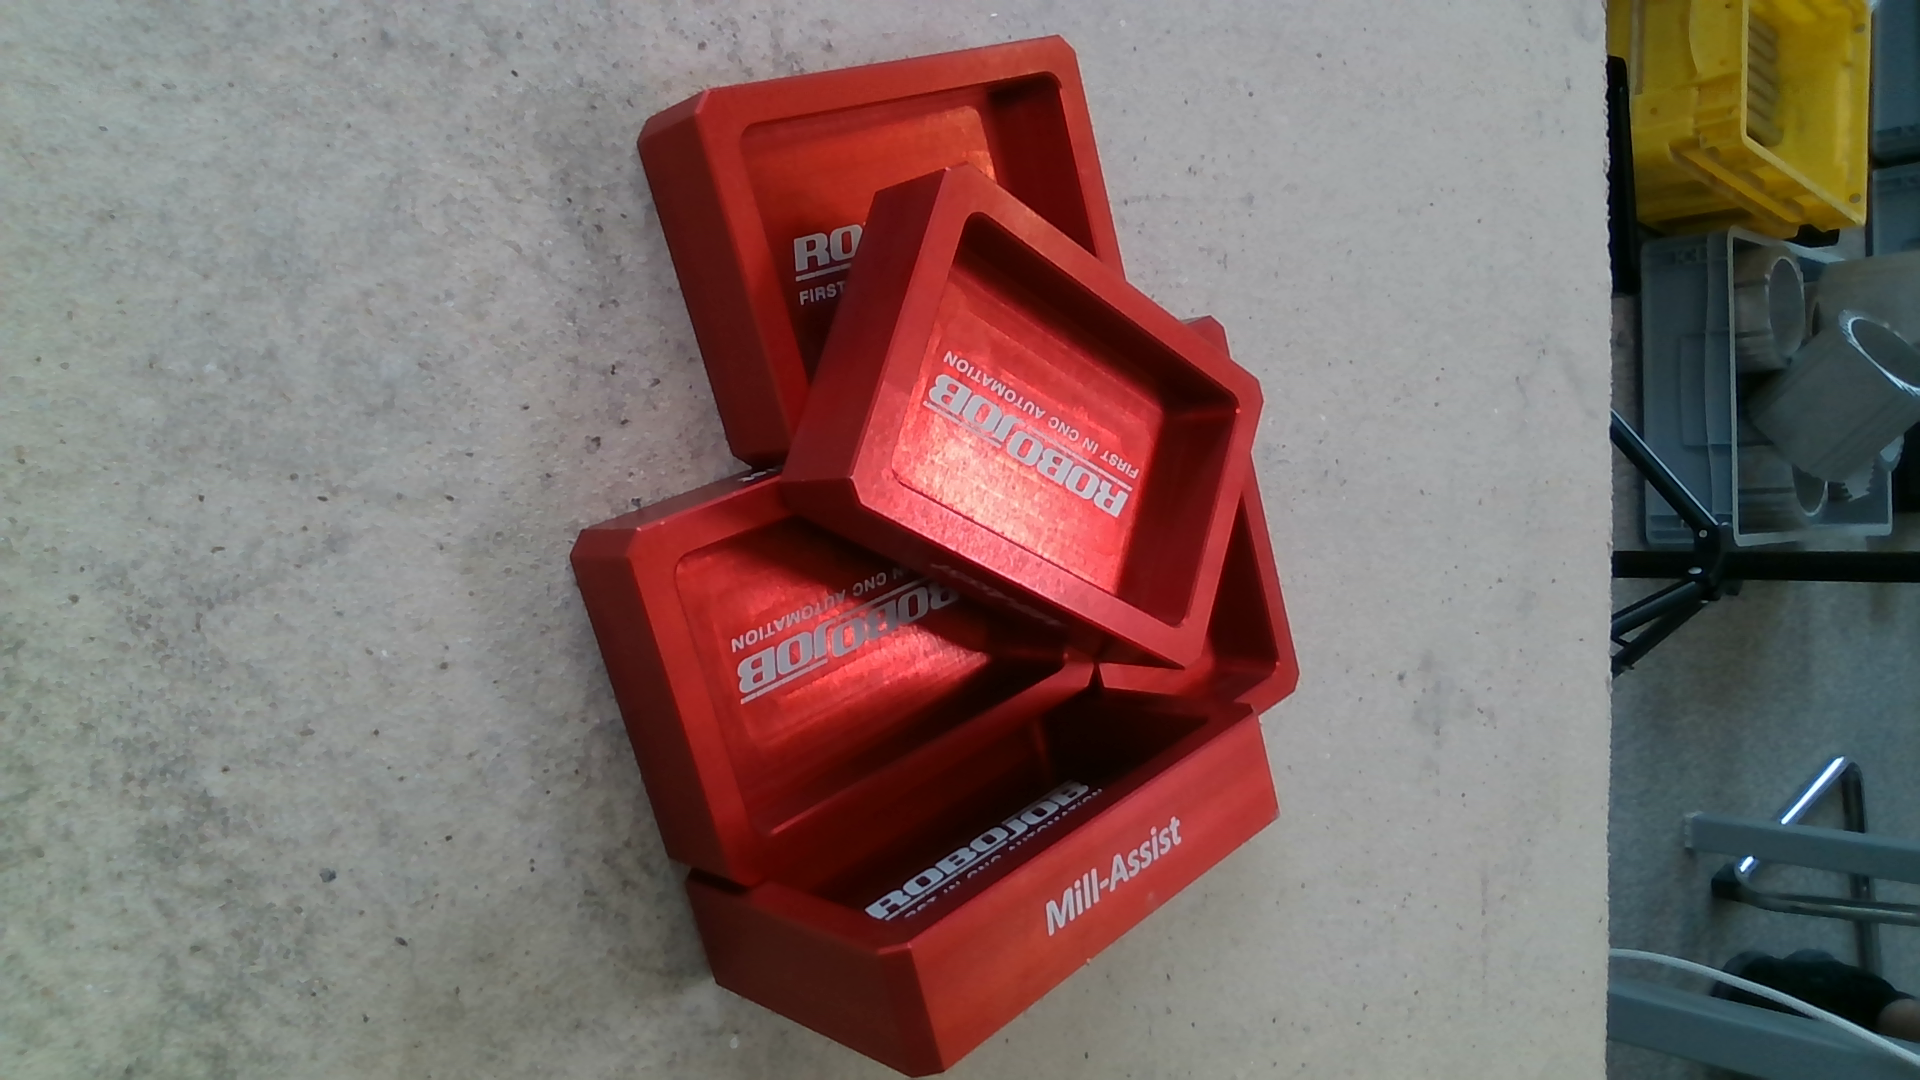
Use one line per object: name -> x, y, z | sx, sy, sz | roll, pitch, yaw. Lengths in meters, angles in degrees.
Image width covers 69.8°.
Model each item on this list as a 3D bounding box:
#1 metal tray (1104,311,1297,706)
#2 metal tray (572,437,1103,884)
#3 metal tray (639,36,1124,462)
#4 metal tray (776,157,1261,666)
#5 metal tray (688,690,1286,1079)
metal tray -> 0.057, 0.002, 0.438 | 0.090, 0.030, 0.130 | -24, 105, -38
metal tray -> -0.026, 0.019, 0.364 | 0.130, 0.030, 0.090 | -24, 104, -36
metal tray -> -0.013, -0.082, 0.375 | 0.130, 0.030, 0.090 | -24, 105, -38
metal tray -> 0.022, -0.029, 0.369 | 0.130, 0.030, 0.090 | 27, 72, -36
metal tray -> 0.009, 0.078, 0.353 | 0.130, 0.090, 0.030 | -23, 105, -37
